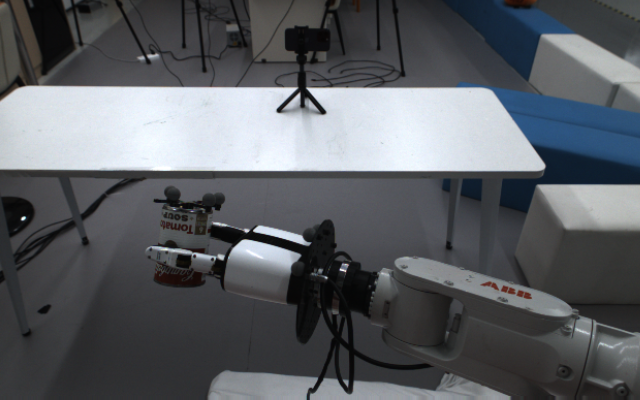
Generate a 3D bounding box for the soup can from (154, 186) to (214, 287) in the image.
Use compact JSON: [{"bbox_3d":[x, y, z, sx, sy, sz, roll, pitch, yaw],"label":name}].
[{"bbox_3d":[-0.182,0.061,0.649,0.067,0.101,0.067,7,3,0],"label":"soup can"}]
